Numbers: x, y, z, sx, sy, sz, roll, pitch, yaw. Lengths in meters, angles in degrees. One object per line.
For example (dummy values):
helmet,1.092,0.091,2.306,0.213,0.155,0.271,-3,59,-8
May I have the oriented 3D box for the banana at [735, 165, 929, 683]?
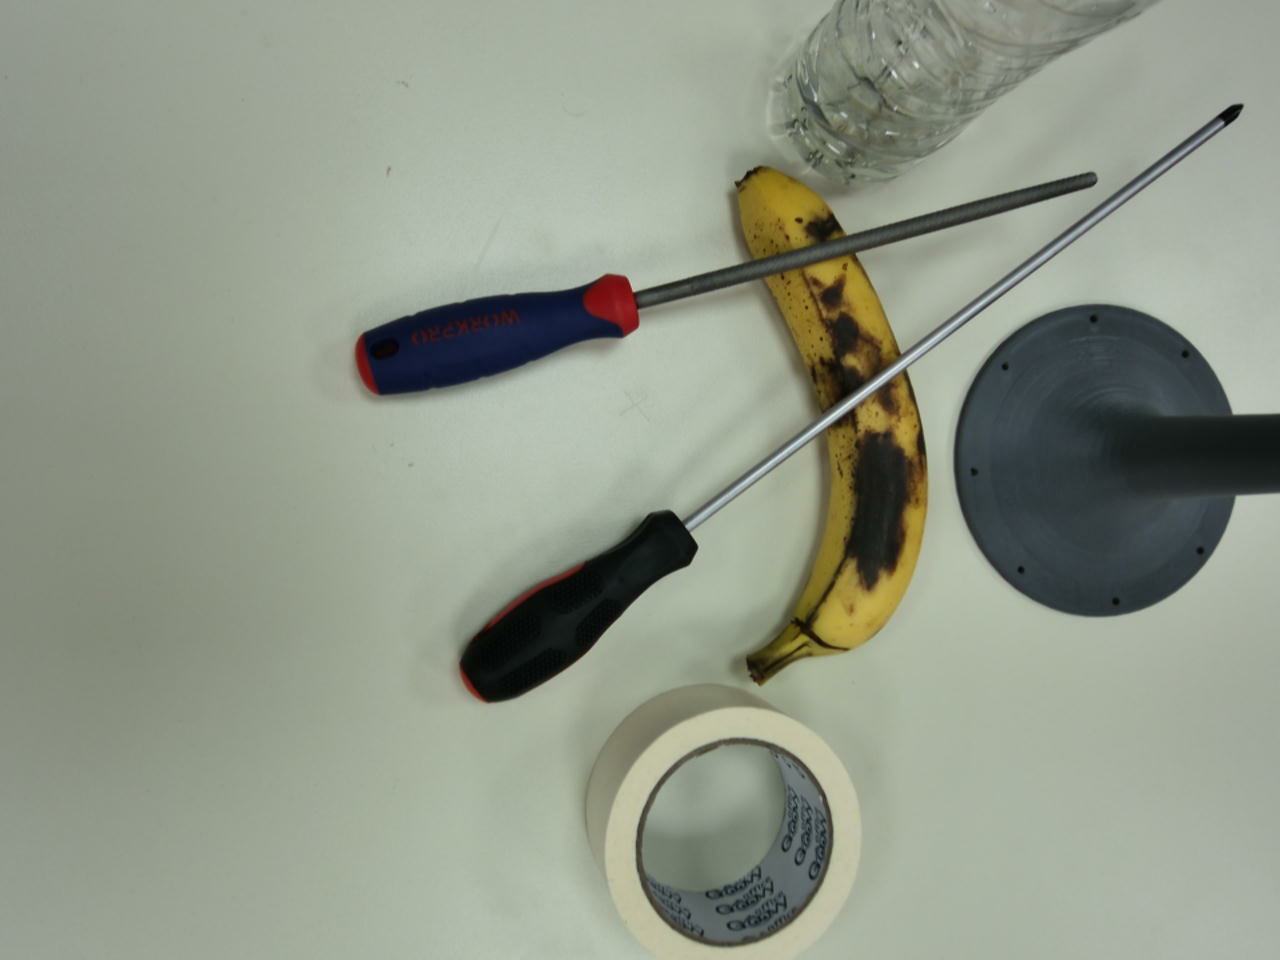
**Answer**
banana,0.085,-0.024,0.436,0.084,0.037,0.222,0,90,-11
